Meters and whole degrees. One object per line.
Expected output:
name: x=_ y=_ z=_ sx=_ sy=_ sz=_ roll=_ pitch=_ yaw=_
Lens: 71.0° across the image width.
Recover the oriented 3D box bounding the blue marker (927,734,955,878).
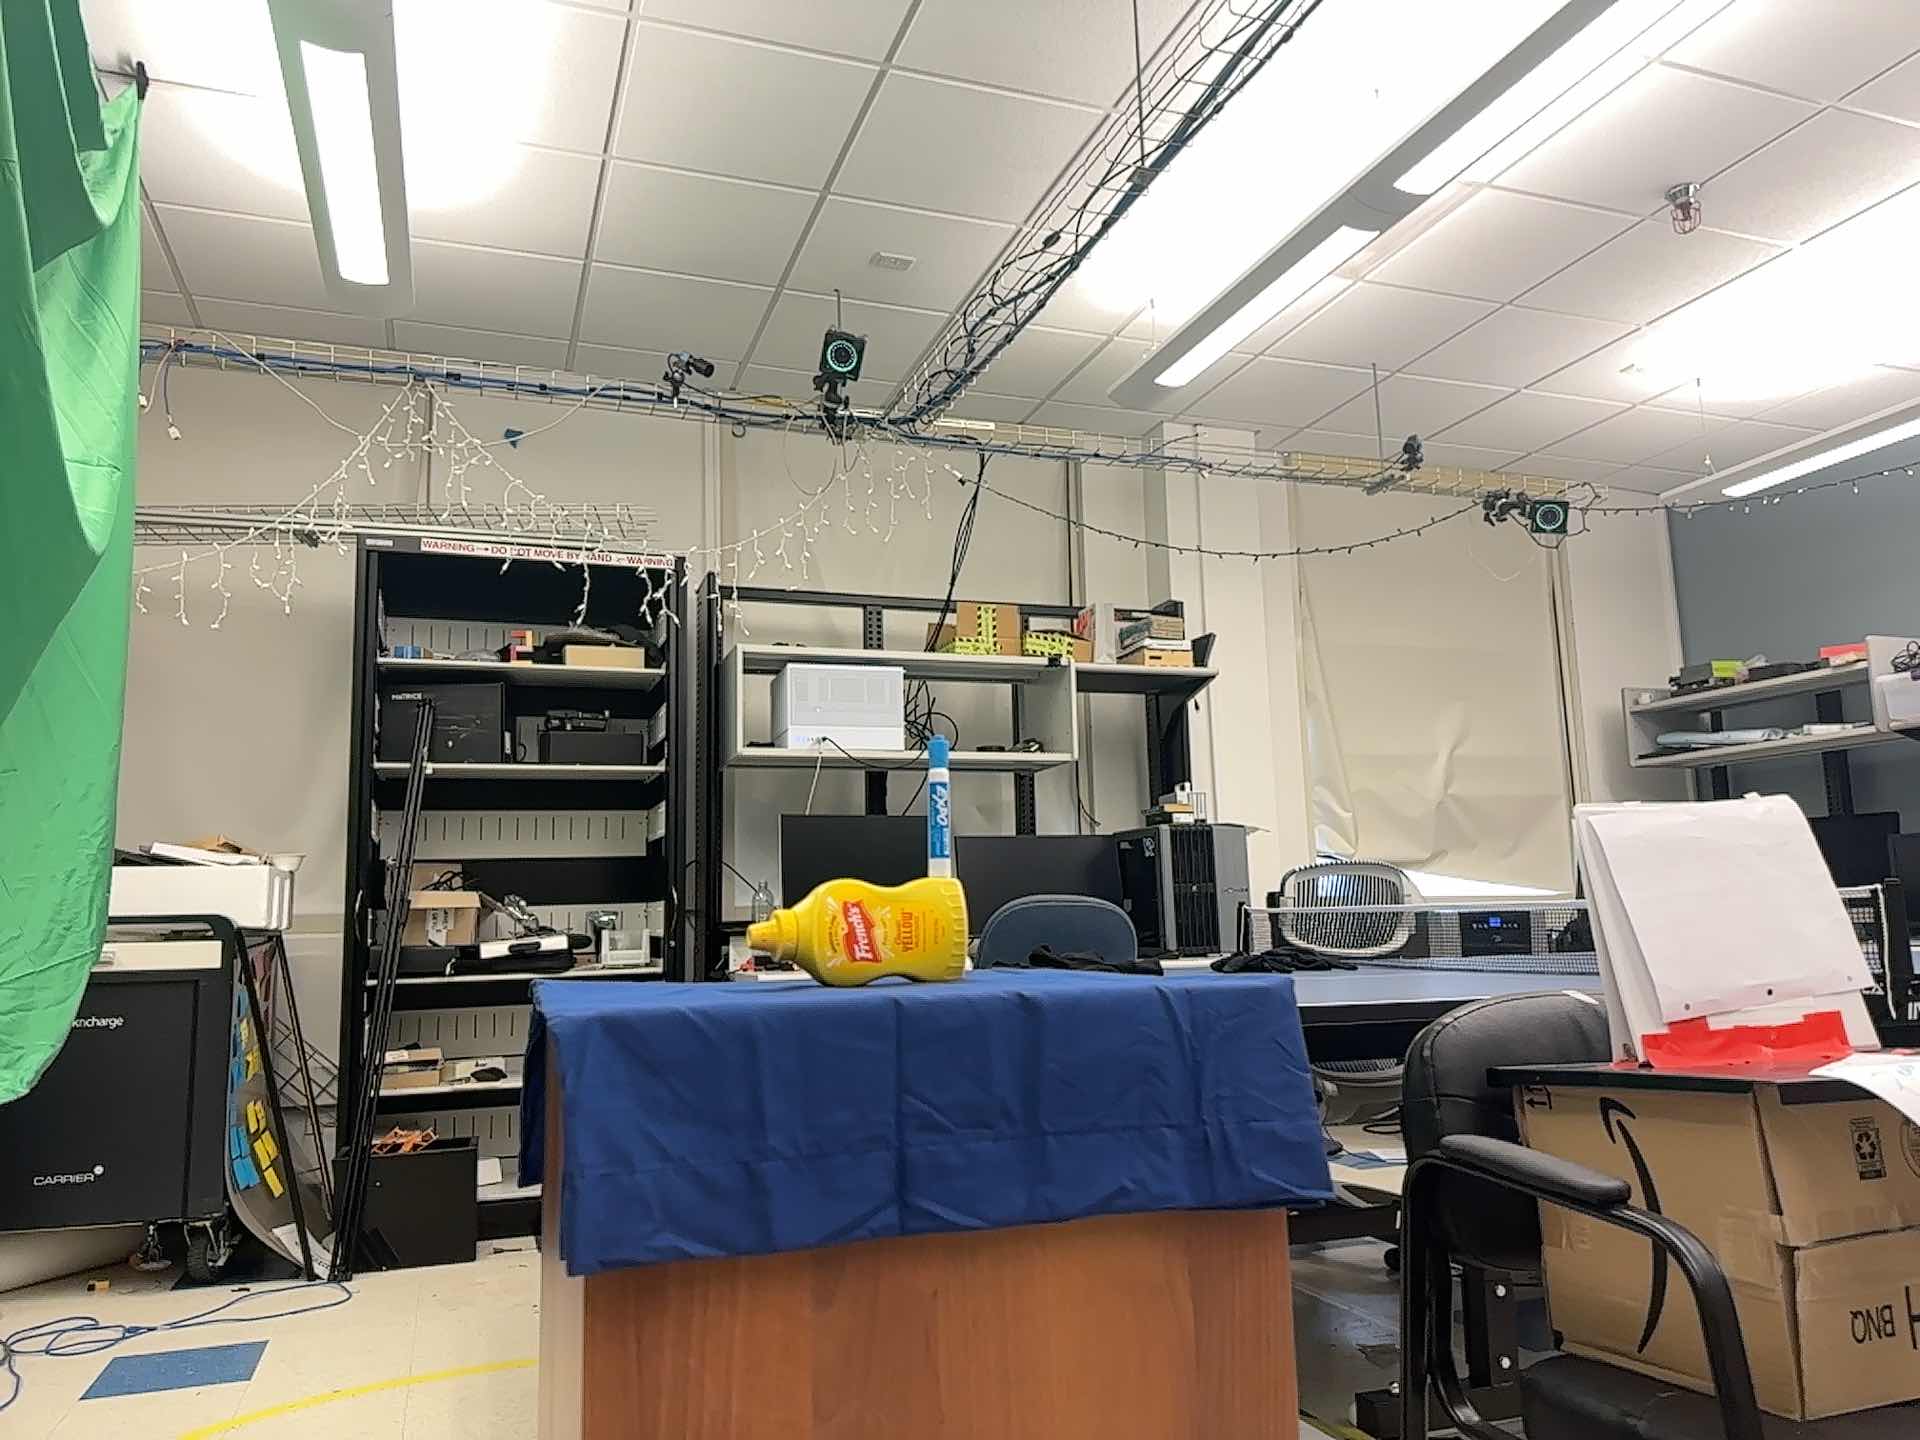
blue marker: x=-0.017 y=0.072 z=1.136 sx=0.020 sy=0.121 sz=0.020 roll=-2 pitch=-10 yaw=0

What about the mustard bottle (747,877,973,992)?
mustard bottle: x=-0.083 y=0.174 z=1.090 sx=0.184 sy=0.092 sz=0.054 roll=3 pitch=-2 yaw=-25
